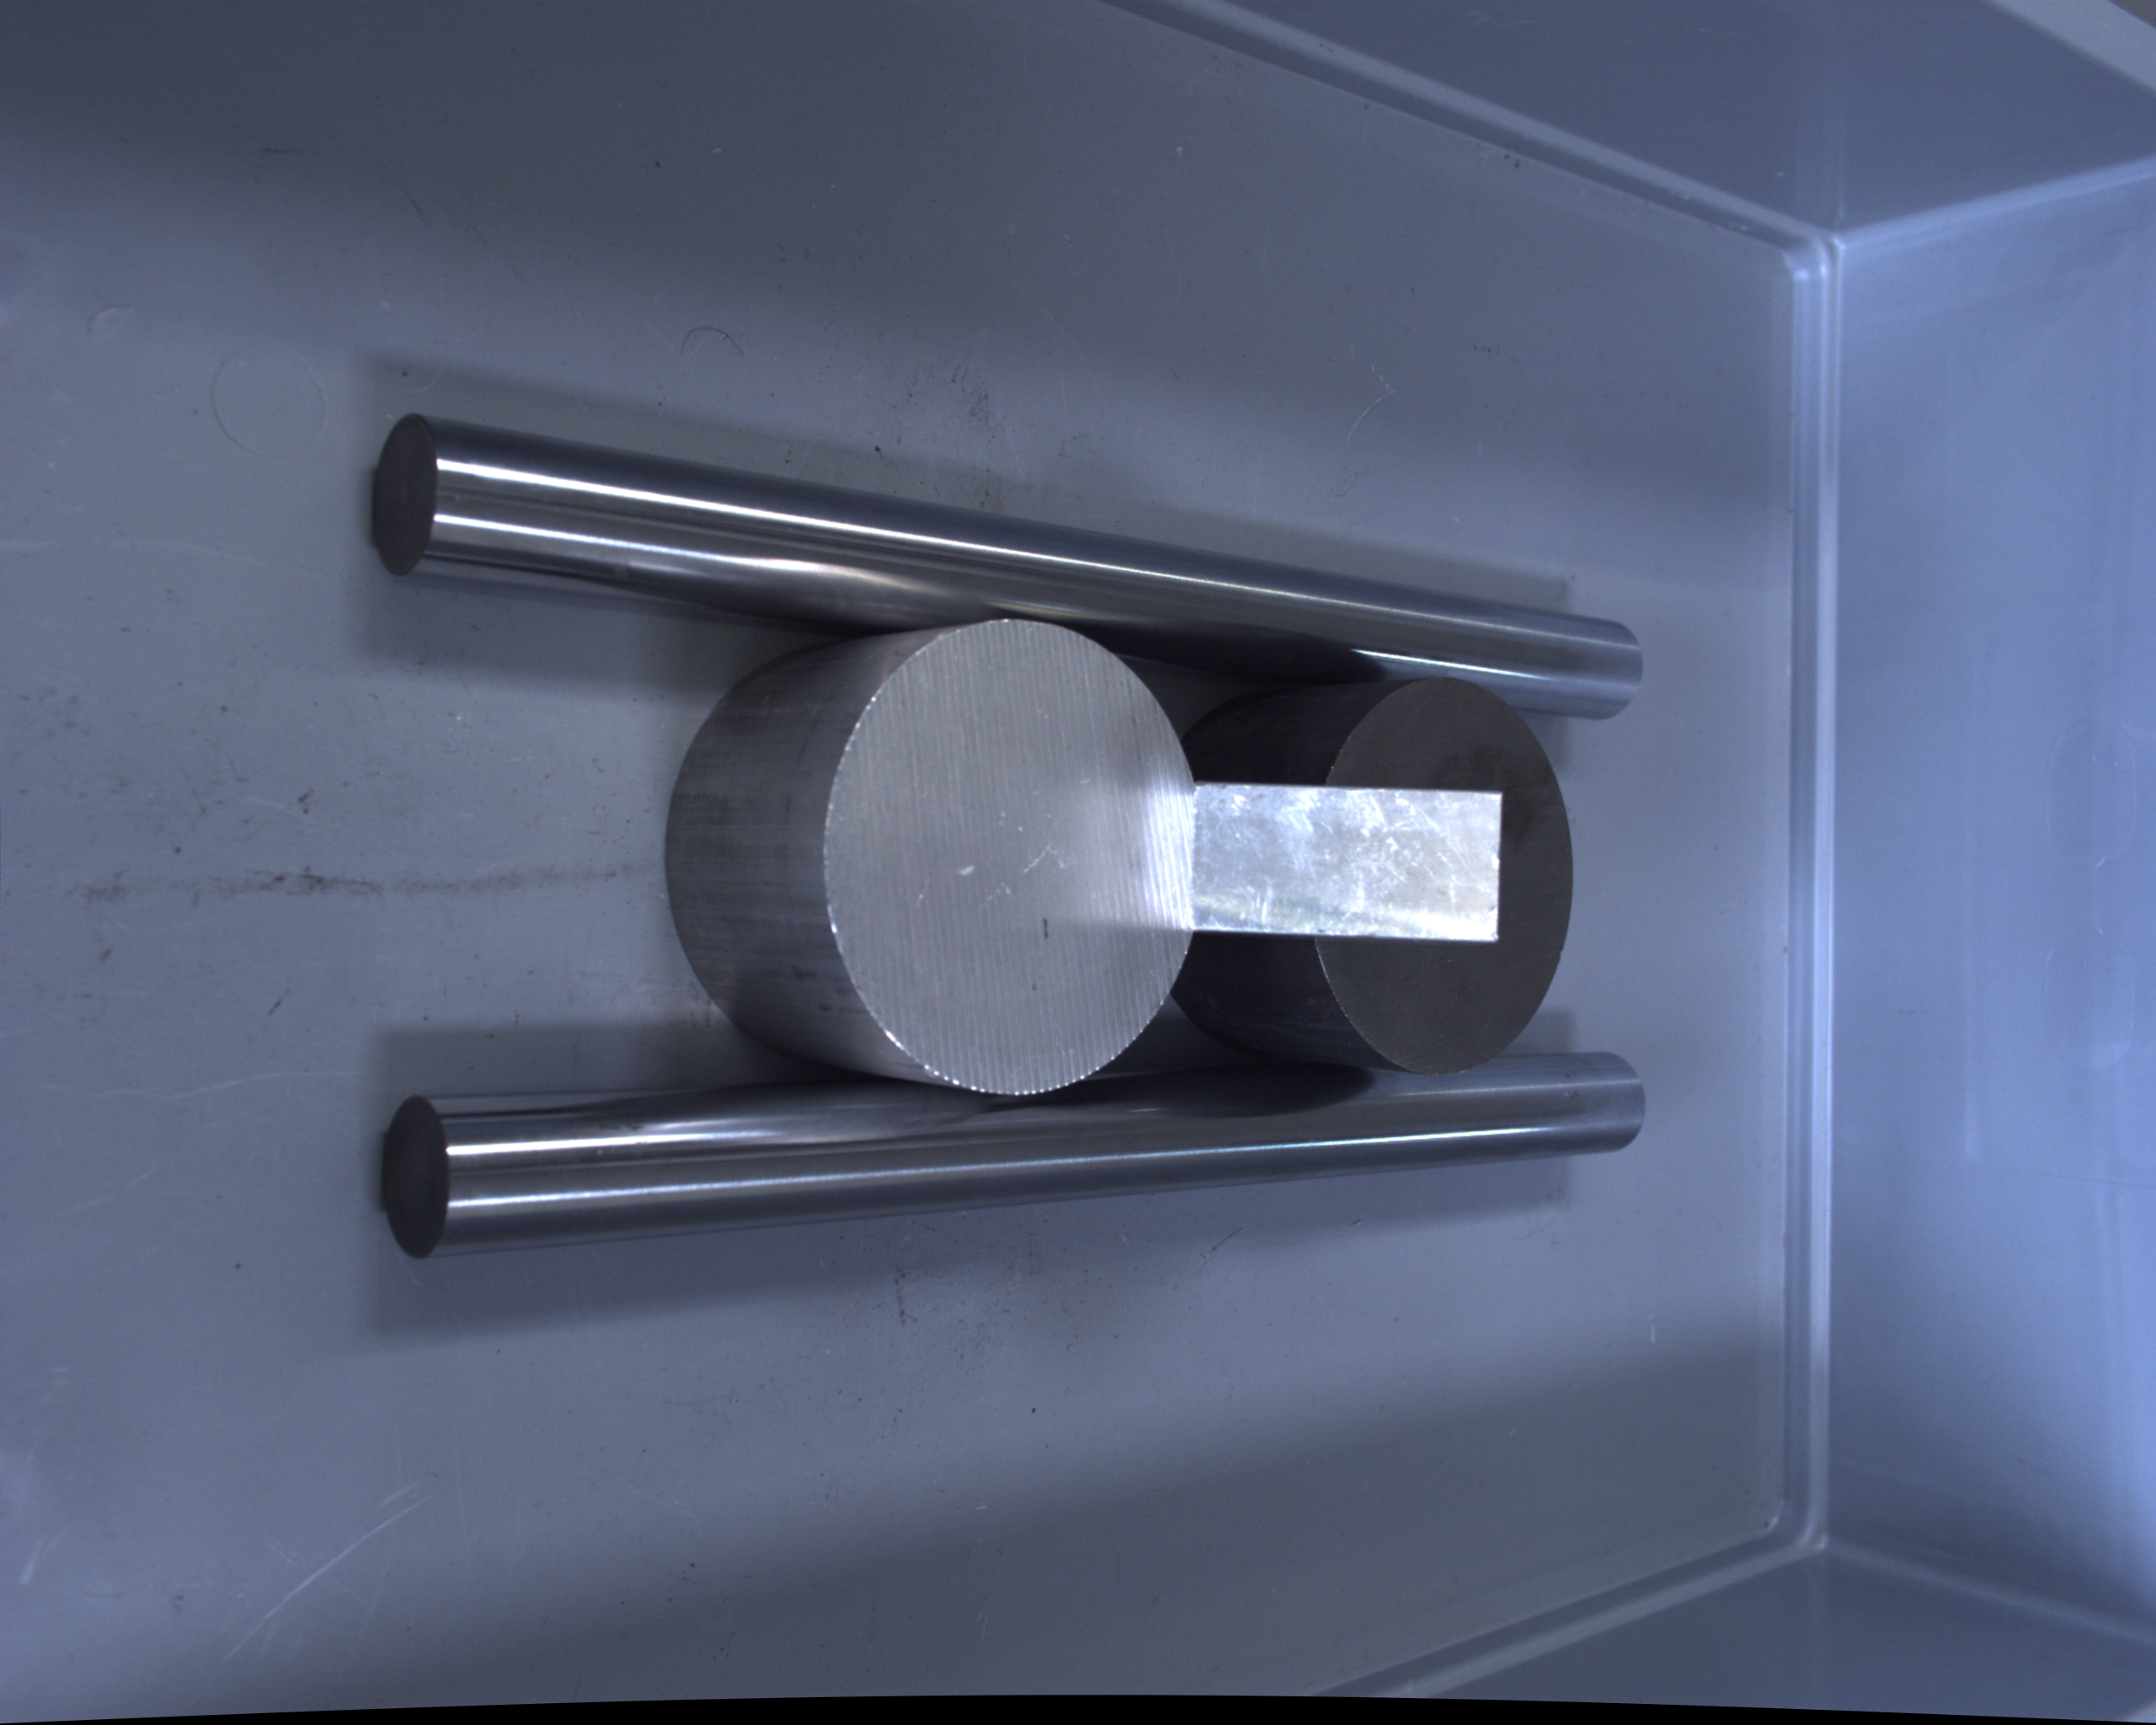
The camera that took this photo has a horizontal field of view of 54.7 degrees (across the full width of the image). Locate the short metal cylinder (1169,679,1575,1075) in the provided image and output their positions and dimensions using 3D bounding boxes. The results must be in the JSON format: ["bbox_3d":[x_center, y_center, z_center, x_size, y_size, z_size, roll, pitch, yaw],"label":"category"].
[{"bbox_3d":[0.059,0.003,0.439,0.081,0.050,0.079,0,90,-40],"label":"short metal cylinder"}]

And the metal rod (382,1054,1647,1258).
[{"bbox_3d":[0.014,0.054,0.417,0.302,0.025,0.025,3,88,-40],"label":"metal rod"}]

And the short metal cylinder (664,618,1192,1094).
[{"bbox_3d":[-0.025,-0.001,0.368,0.081,0.050,0.079,0,90,-40],"label":"short metal cylinder"}]

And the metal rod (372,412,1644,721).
[{"bbox_3d":[0.013,-0.052,0.416,0.302,0.025,0.025,2,89,-40],"label":"metal rod"}]

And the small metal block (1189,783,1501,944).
[{"bbox_3d":[0.047,0.001,0.368,0.050,0.050,0.025,22,70,-83],"label":"small metal block"}]
